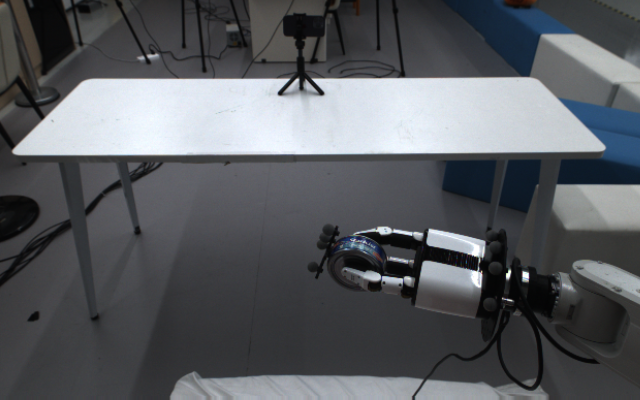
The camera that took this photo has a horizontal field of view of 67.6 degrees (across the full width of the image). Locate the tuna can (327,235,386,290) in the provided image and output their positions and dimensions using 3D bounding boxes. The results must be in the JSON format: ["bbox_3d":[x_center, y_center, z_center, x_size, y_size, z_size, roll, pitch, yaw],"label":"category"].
[{"bbox_3d":[0.057,0.094,0.715,0.085,0.085,0.034,9,35,10],"label":"tuna can"}]
